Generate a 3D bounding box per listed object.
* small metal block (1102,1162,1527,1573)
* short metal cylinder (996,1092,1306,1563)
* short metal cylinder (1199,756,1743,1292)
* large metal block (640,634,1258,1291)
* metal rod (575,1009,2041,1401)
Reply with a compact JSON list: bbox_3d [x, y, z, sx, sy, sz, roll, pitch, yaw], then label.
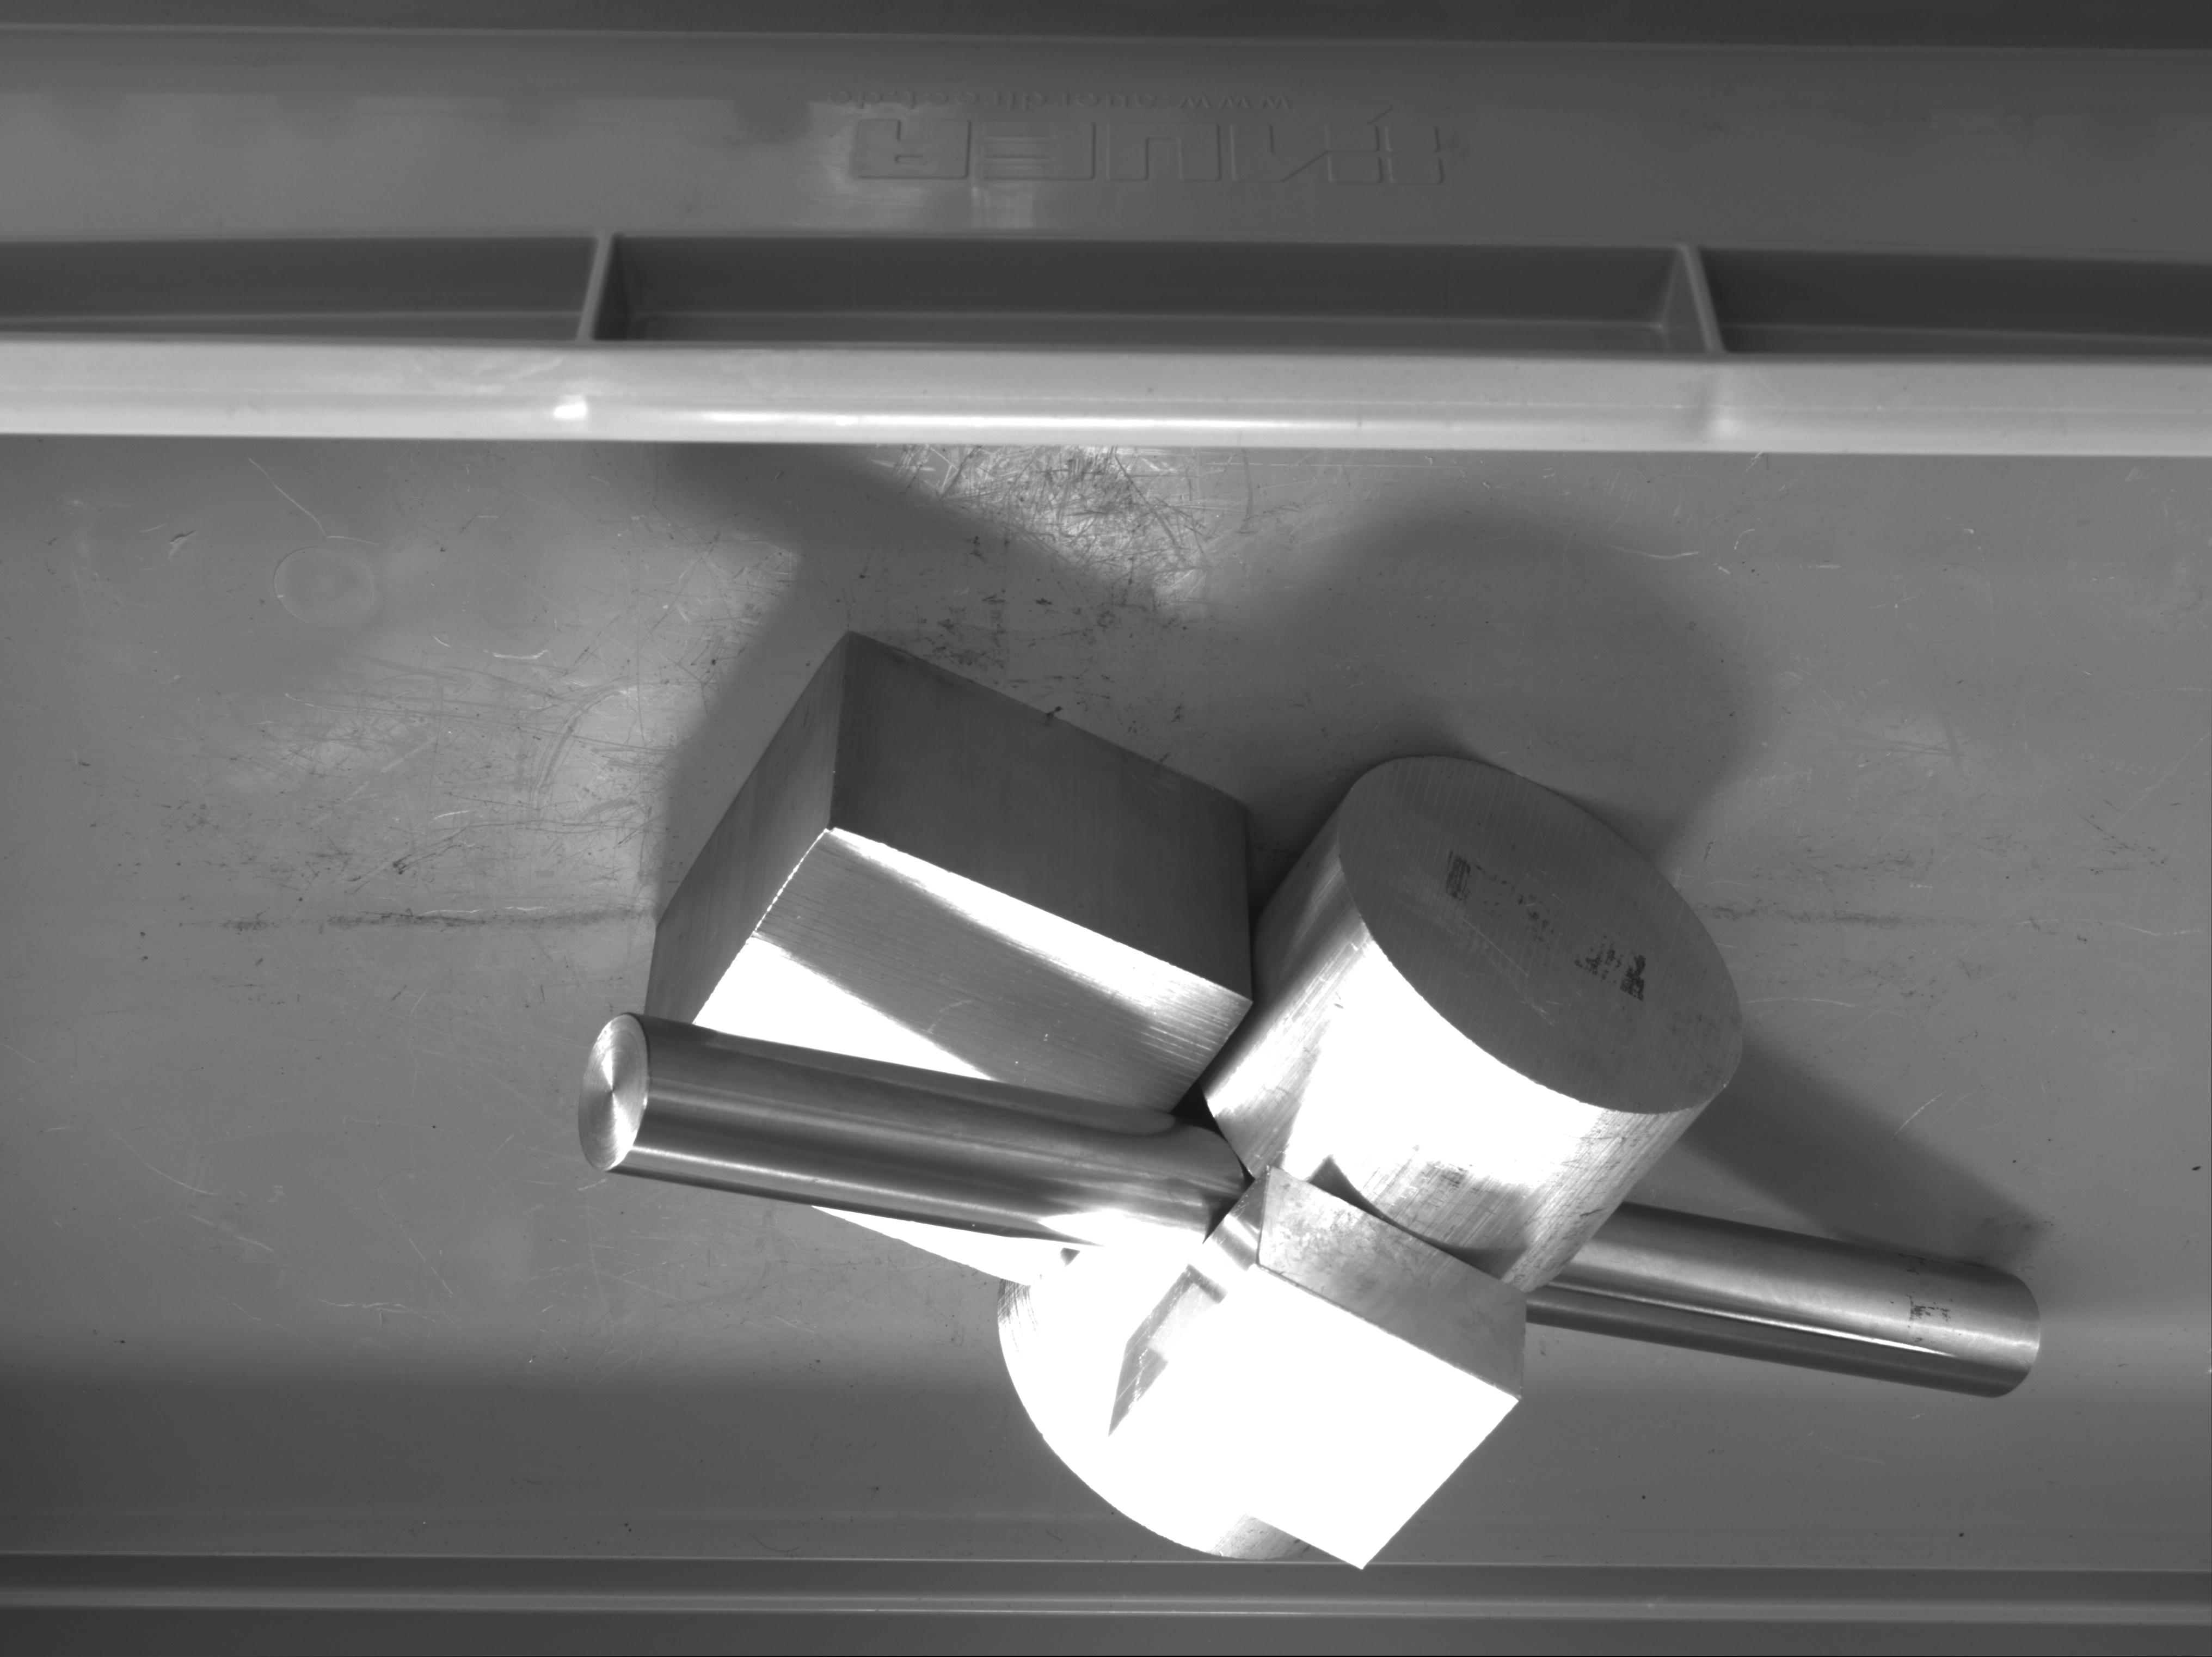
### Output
[{"bbox_3d":[0.035,0.090,0.611,0.050,0.025,0.050,28,125,-11],"label":"small metal block"},{"bbox_3d":[0.027,0.087,0.675,0.080,0.080,0.050,24,126,-19],"label":"short metal cylinder"},{"bbox_3d":[0.062,0.034,0.631,0.080,0.080,0.050,22,127,-17],"label":"short metal cylinder"},{"bbox_3d":[-0.029,0.025,0.640,0.080,0.050,0.080,23,126,-18],"label":"large metal block"},{"bbox_3d":[0.049,0.070,0.646,0.301,0.025,0.025,13,130,-31],"label":"metal rod"}]
